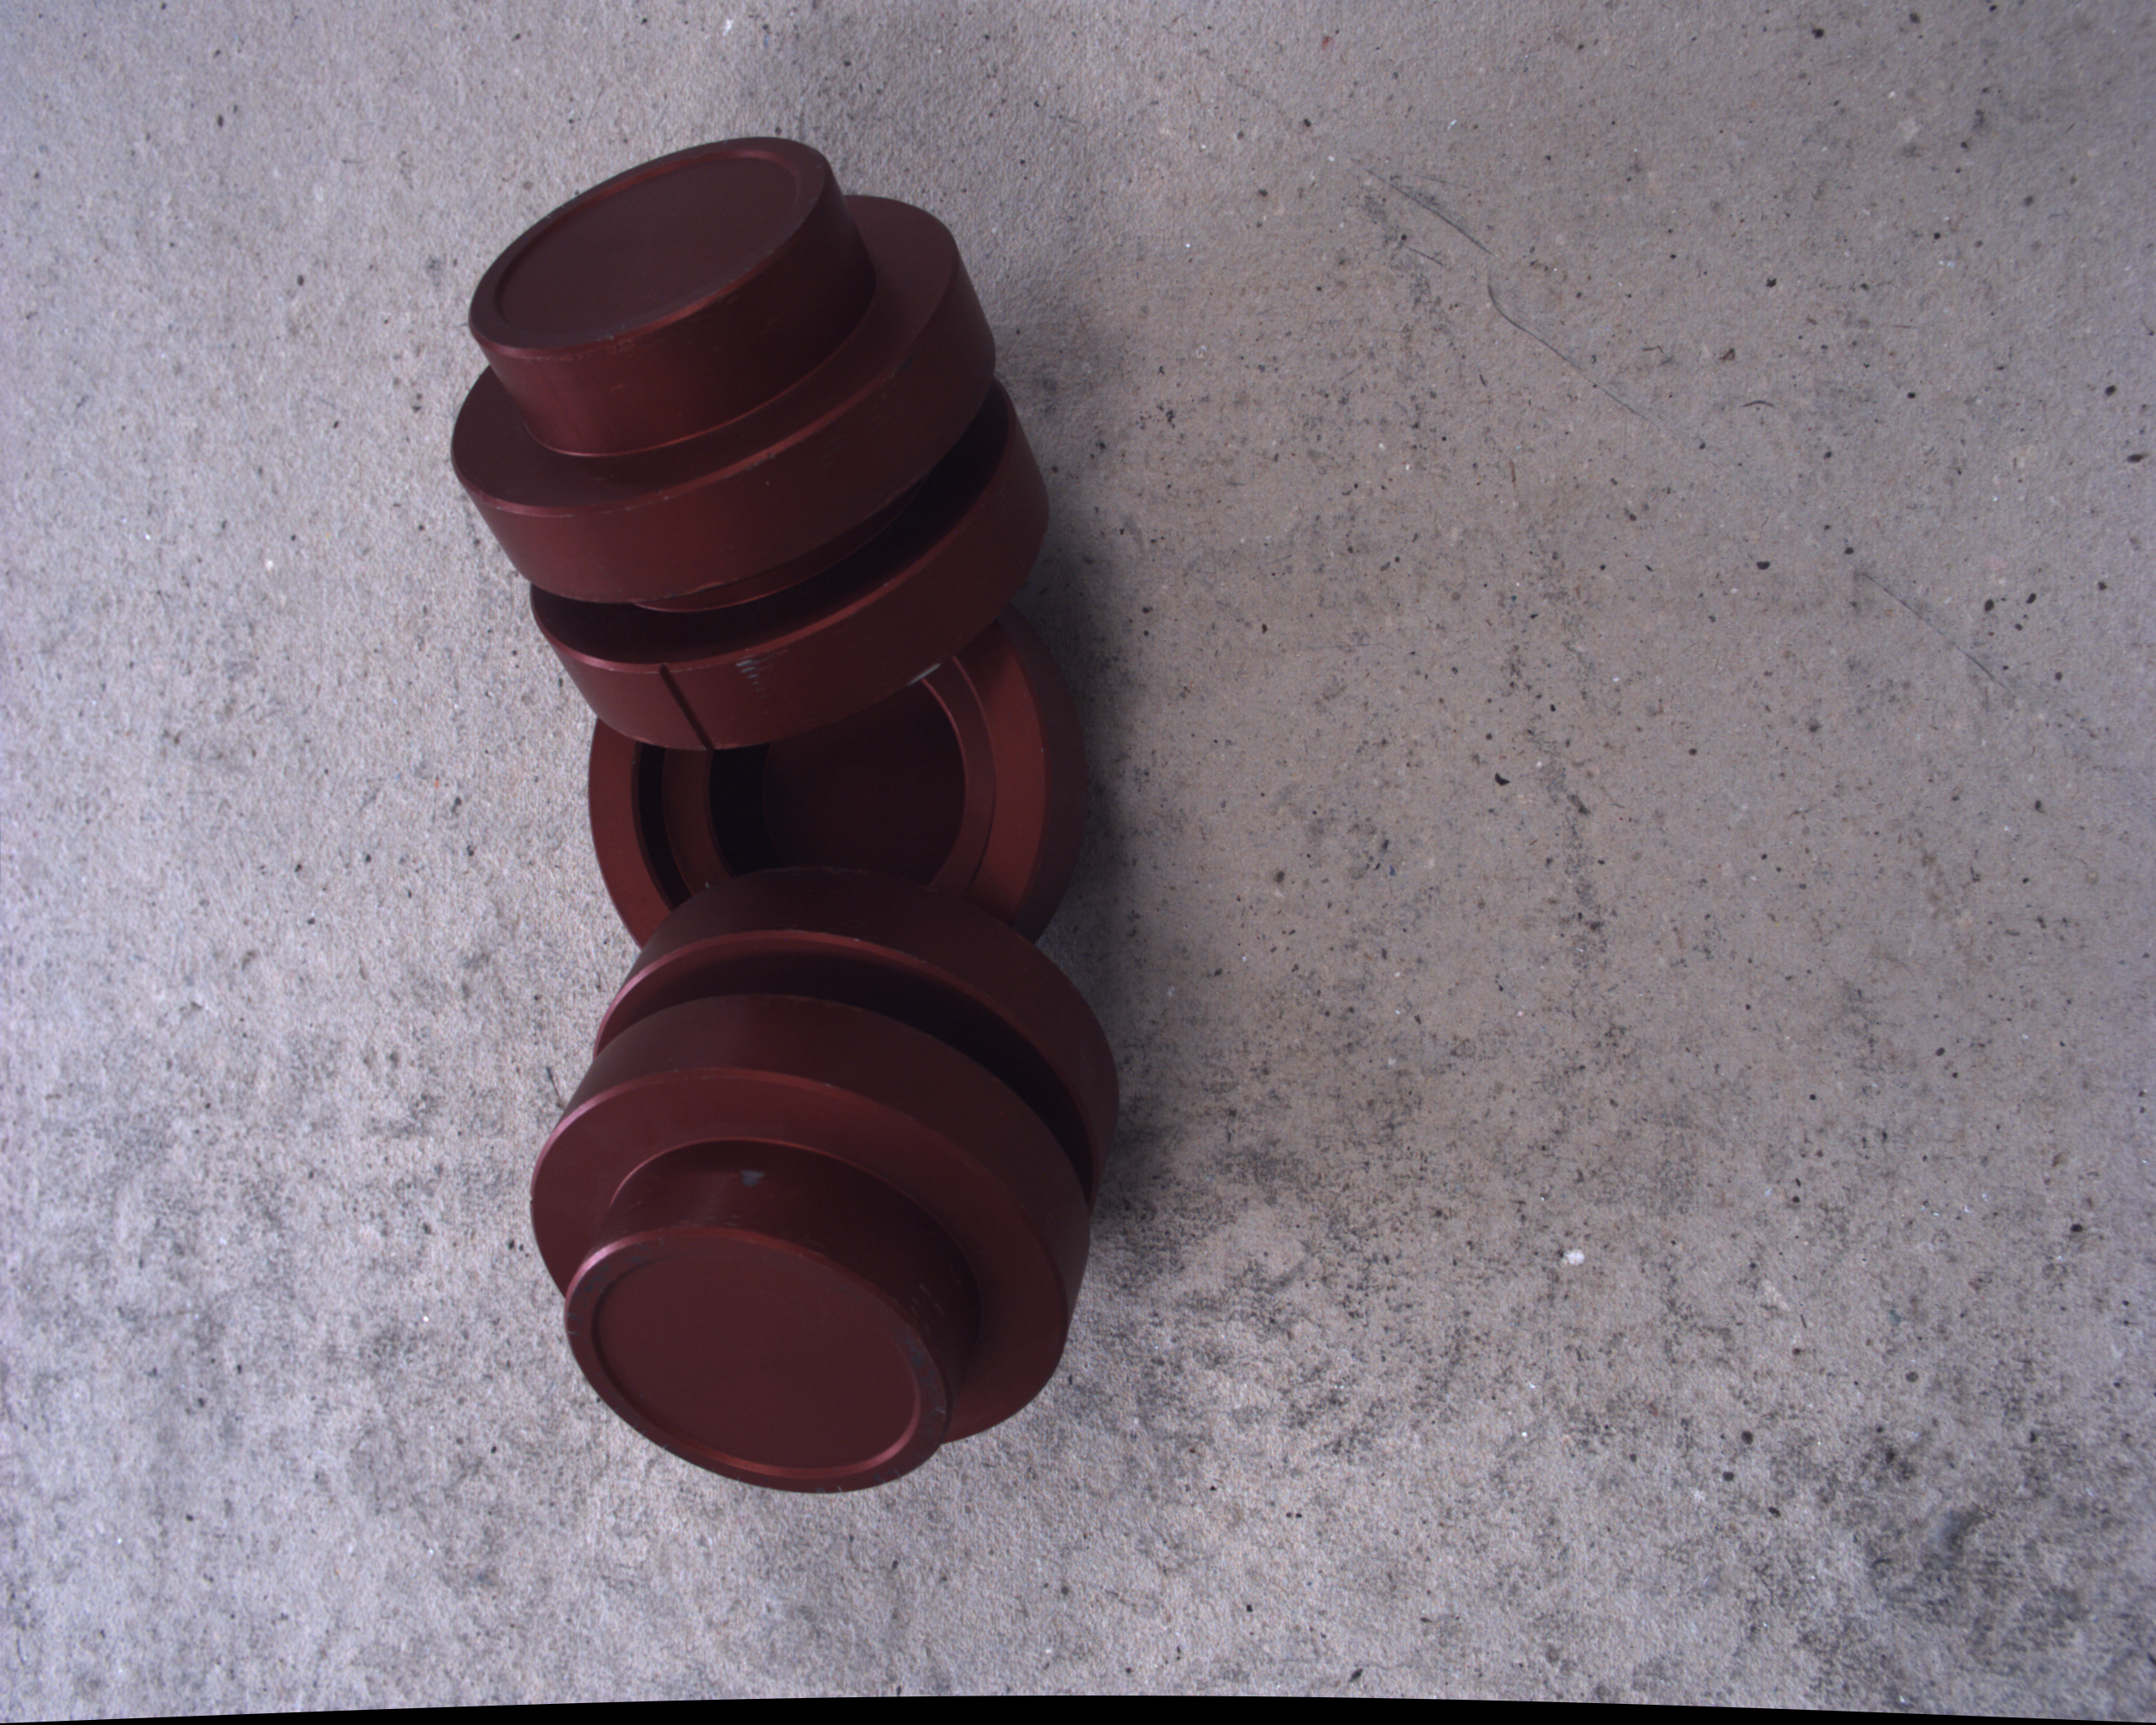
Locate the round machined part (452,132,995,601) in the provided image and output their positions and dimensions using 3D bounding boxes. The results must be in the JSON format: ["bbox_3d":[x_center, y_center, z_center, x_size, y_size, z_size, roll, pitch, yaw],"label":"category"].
[{"bbox_3d":[-0.068,-0.094,0.374,0.098,0.042,0.098,-13,43,13],"label":"round machined part"}]

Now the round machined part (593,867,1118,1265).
[{"bbox_3d":[-0.045,0.052,0.391,0.098,0.042,0.097,7,128,9],"label":"round machined part"}]

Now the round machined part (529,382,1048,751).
[{"bbox_3d":[-0.059,-0.069,0.393,0.098,0.042,0.098,-13,43,12],"label":"round machined part"}]

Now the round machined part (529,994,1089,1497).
[{"bbox_3d":[-0.050,0.074,0.368,0.098,0.042,0.097,7,127,9],"label":"round machined part"}]

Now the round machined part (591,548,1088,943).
[{"bbox_3d":[-0.044,-0.015,0.418,0.098,0.042,0.097,0,90,20],"label":"round machined part"}]
